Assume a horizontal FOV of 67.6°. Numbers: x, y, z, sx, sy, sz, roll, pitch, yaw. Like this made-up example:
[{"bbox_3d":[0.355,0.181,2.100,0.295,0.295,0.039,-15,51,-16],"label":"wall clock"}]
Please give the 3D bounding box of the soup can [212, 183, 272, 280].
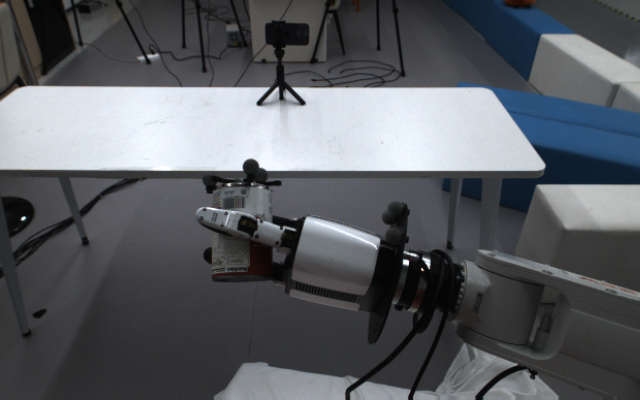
[{"bbox_3d":[-0.083,0.039,0.536,0.067,0.067,0.101,-1,77,-5],"label":"soup can"}]
